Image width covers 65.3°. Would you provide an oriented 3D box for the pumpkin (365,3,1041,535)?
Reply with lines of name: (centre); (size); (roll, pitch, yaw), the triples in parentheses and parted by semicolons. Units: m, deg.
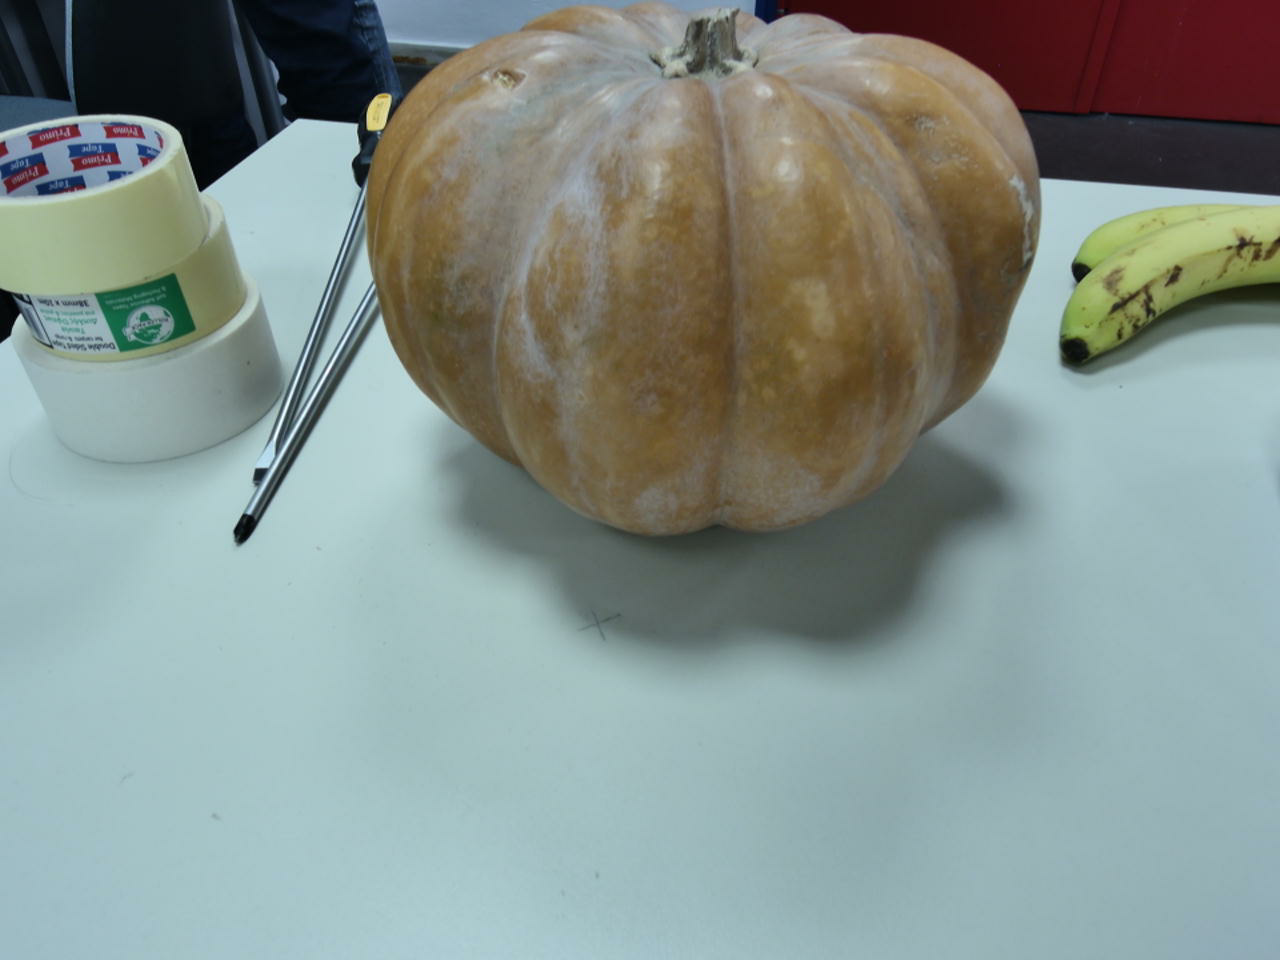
pumpkin: (0.023, -0.095, 0.412); (0.277, 0.181, 0.277); (0, 38, 0)
